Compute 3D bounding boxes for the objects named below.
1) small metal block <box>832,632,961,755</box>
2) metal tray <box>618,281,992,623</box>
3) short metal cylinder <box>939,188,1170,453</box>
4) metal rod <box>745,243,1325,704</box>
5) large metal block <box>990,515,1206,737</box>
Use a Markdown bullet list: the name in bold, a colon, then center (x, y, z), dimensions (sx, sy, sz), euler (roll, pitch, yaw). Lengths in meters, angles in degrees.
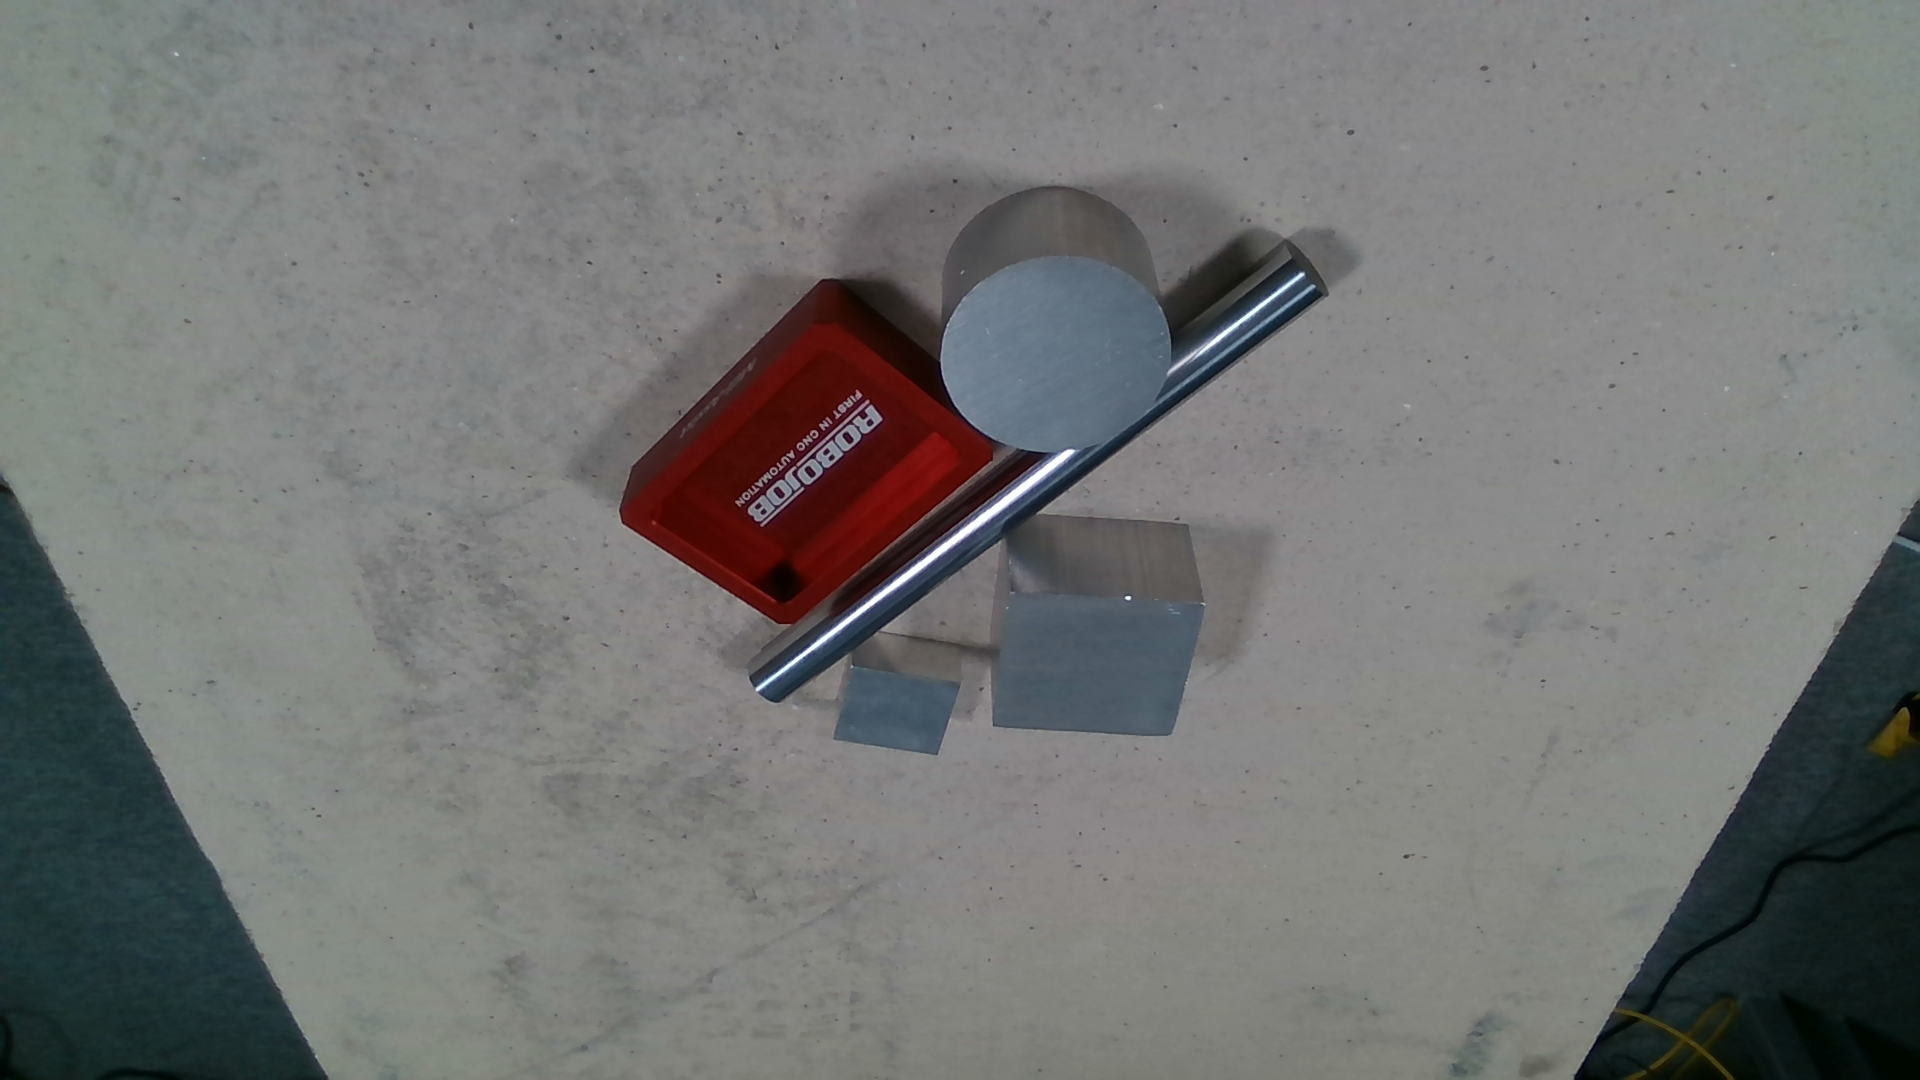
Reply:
- **small metal block**: center (-0.030, 0.071, 0.639), dimensions (0.050, 0.025, 0.050), euler (10, 129, -8)
- **metal tray**: center (-0.062, -0.031, 0.550), dimensions (0.090, 0.030, 0.130), euler (37, 121, -27)
- **short metal cylinder**: center (0.033, -0.079, 0.497), dimensions (0.080, 0.050, 0.080), euler (0, 130, 0)
- **metal rod**: center (0.018, -0.016, 0.565), dimensions (0.300, 0.025, 0.025), euler (-37, 121, 27)
- **large metal block**: center (0.056, 0.037, 0.594), dimensions (0.080, 0.050, 0.080), euler (3, 130, -3)
